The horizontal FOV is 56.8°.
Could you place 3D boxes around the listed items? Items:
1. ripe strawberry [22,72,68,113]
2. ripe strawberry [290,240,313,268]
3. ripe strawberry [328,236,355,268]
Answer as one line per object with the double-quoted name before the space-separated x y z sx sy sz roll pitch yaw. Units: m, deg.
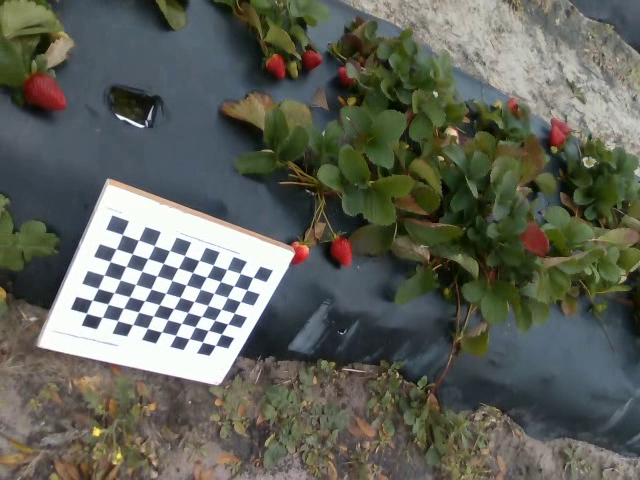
"ripe strawberry" -0.356 -0.188 0.777 0.064 0.046 0.048 39 19 2
"ripe strawberry" -0.032 0.021 0.939 0.036 0.040 0.028 23 0 -18
"ripe strawberry" 0.039 0.017 0.977 0.044 0.059 0.041 -19 10 3
